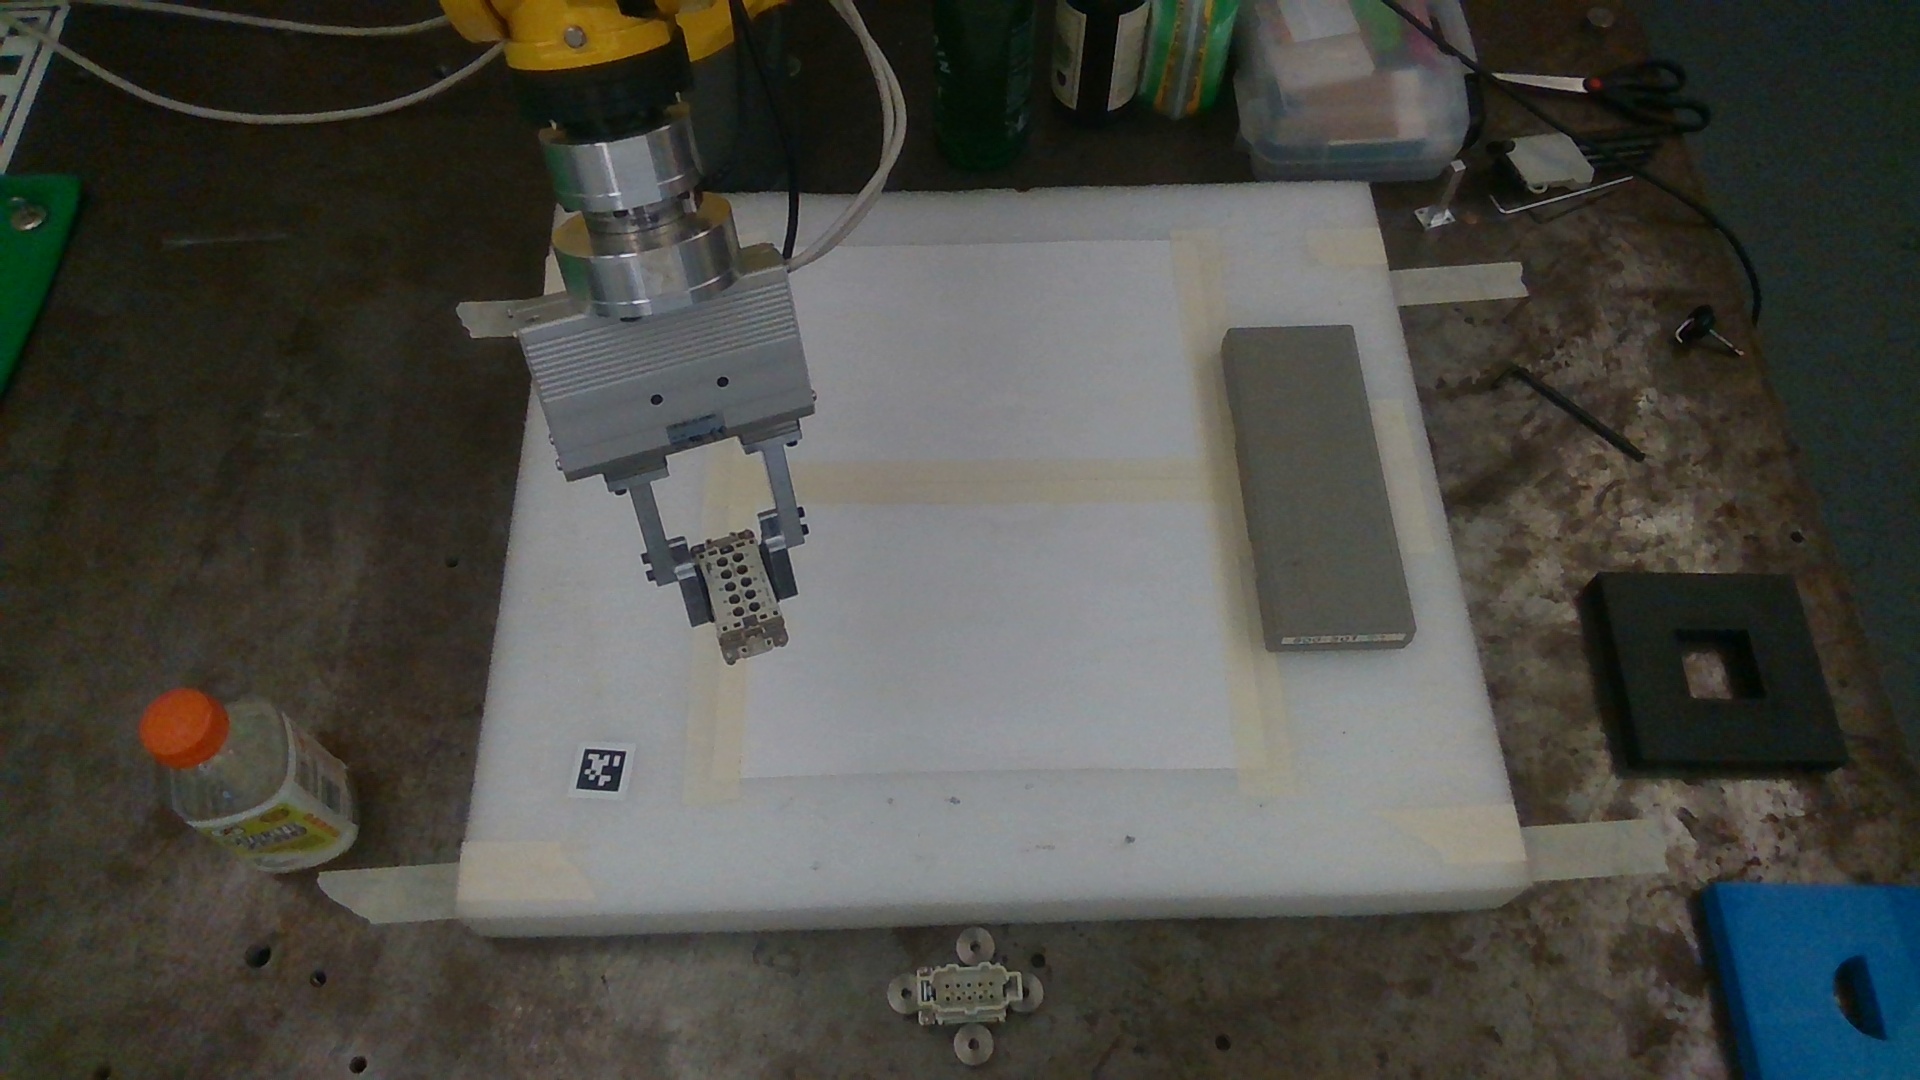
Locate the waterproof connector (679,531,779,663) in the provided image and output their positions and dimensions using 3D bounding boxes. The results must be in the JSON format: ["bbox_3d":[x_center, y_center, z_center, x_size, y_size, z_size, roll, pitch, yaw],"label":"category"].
[{"bbox_3d":[-0.120,0.028,0.723,0.036,0.038,0.069,-15,65,-19],"label":"waterproof connector"}]
